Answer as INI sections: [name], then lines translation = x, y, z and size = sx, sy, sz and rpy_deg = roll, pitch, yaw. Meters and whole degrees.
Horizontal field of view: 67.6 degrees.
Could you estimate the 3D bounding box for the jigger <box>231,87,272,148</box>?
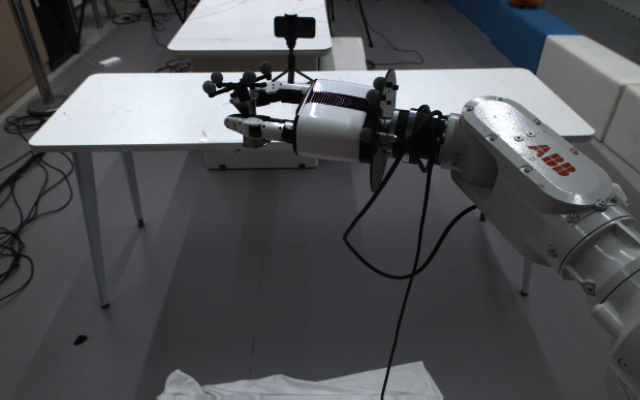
[jigger]
translation = -0.095, -0.110, 0.671
size = 0.043, 0.071, 0.043
rpy_deg = -10, 32, 6
